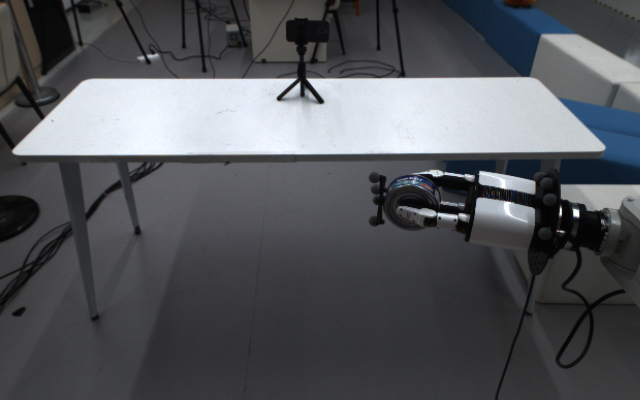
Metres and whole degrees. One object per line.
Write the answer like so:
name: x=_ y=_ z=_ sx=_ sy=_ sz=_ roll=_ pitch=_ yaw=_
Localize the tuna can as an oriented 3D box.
tuna can: x=0.144 y=0.006 z=0.746 sx=0.085 sy=0.085 sz=0.034 roll=9 pitch=32 yaw=10
